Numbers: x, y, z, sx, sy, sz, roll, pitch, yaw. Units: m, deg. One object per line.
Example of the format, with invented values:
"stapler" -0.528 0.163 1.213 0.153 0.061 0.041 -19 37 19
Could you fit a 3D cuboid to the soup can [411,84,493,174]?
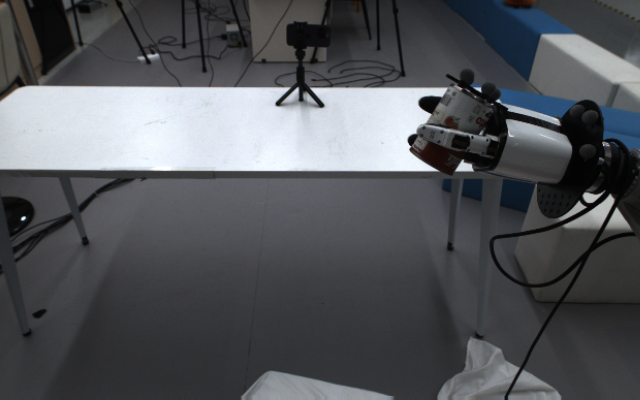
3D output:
"soup can" 0.174 -0.093 0.636 0.067 0.101 0.067 27 18 -9
